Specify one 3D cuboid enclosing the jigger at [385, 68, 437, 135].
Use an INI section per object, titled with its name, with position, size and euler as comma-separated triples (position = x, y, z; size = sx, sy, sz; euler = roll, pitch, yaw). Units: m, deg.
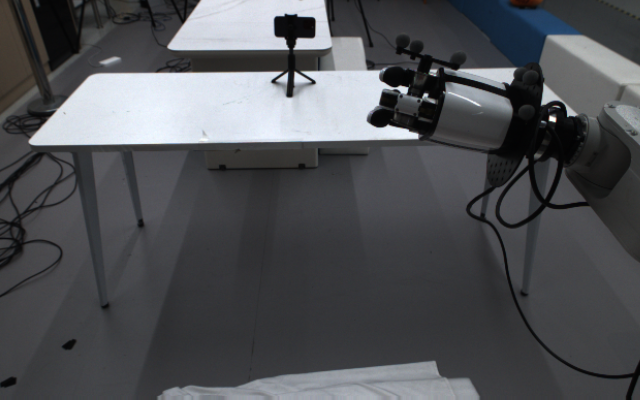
[jigger]
position = 0.121, -0.129, 0.617
size = 0.043, 0.071, 0.043
euler = 15, 17, -5
